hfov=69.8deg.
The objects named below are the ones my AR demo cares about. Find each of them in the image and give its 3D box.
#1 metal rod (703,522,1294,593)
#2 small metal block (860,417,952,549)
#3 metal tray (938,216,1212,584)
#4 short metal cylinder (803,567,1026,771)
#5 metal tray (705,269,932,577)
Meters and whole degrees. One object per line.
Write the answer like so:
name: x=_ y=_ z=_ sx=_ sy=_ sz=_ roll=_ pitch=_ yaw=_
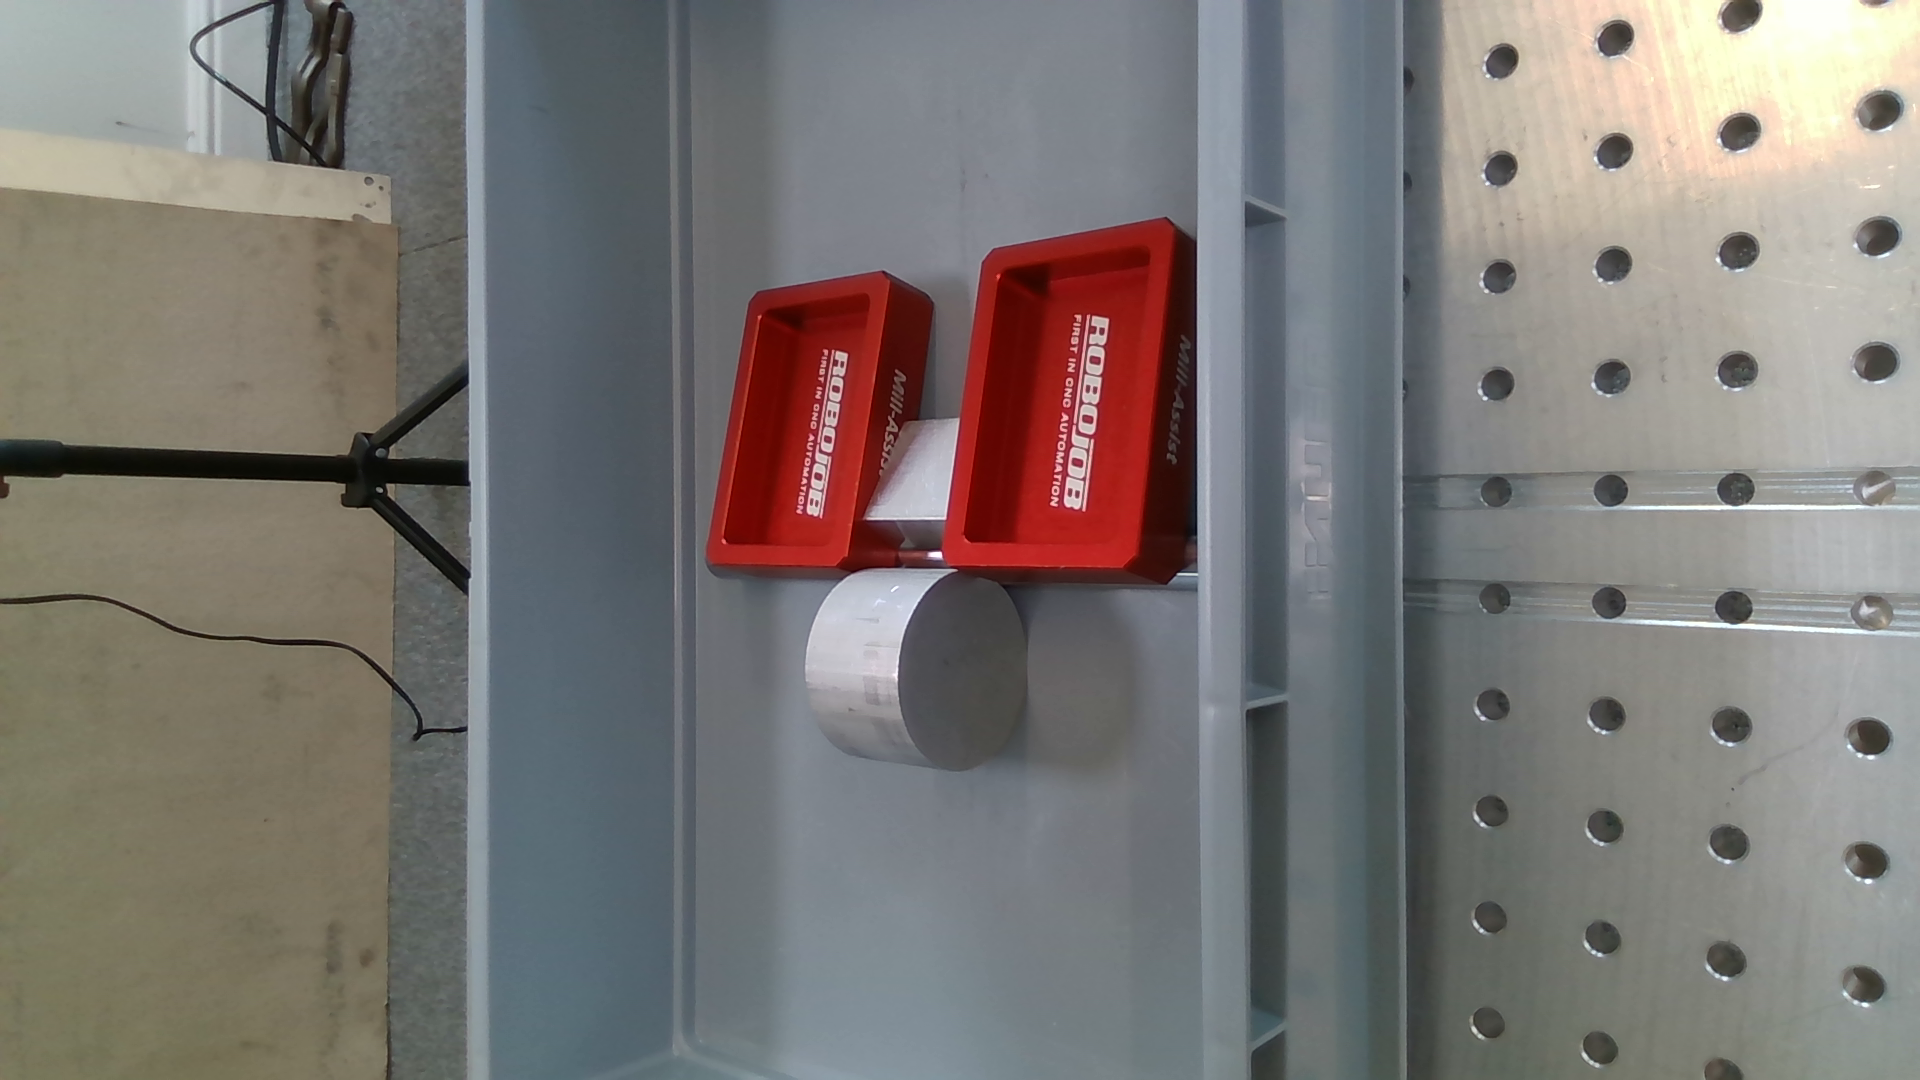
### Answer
metal rod: x=-0.003 y=0.006 z=0.582 sx=0.300 sy=0.025 sz=0.025 roll=0 pitch=90 yaw=40
small metal block: x=-0.007 y=-0.023 z=0.573 sx=0.050 sy=0.025 sz=0.050 roll=1 pitch=60 yaw=40
metal tray: x=0.043 y=-0.050 z=0.523 sx=0.090 sy=0.030 sz=0.130 roll=0 pitch=78 yaw=40
short metal cylinder: x=-0.017 y=0.051 z=0.560 sx=0.050 sy=0.080 sz=0.080 roll=0 pitch=91 yaw=40
metal tray: x=-0.064 y=-0.049 z=0.613 sx=0.090 sy=0.030 sz=0.130 roll=1 pitch=78 yaw=40
